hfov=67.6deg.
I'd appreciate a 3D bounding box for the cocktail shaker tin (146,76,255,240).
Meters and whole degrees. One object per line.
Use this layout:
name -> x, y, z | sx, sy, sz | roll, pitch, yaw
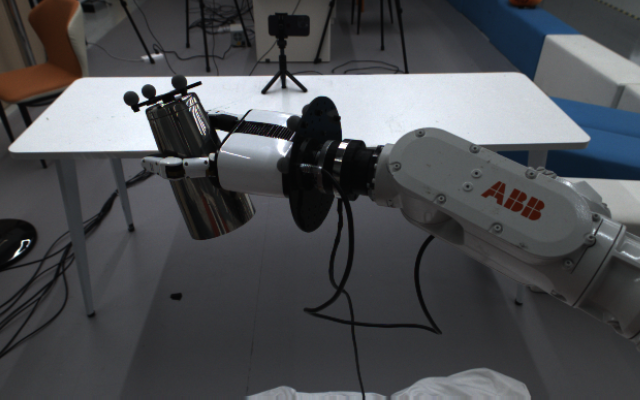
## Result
cocktail shaker tin -> -0.156, -0.044, 0.619 | 0.093, 0.170, 0.093 | -17, 21, 7
